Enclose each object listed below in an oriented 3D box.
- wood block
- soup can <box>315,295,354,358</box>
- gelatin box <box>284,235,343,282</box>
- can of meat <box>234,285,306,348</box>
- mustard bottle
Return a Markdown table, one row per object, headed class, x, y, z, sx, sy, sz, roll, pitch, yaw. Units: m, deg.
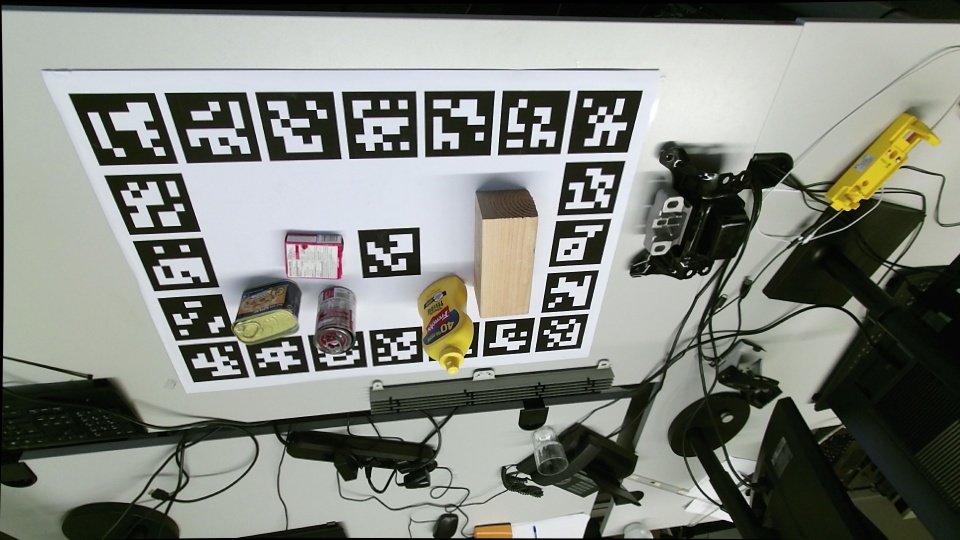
| class | x | y | z | sx | sy | sz | roll | pitch | yaw |
| --- | --- | --- | --- | --- | --- | --- | --- | --- | --- |
| wood block | 0.041 | -0.020 | 0.907 | 0.091 | 0.089 | 0.206 | -2 | 131 | -8 |
| soup can | -0.250 | 0.098 | 0.917 | 0.068 | 0.101 | 0.068 | -6 | 125 | -8 |
| gelatin box | -0.273 | -0.018 | 0.876 | 0.090 | 0.030 | 0.073 | 3 | 124 | -17 |
| can of meat | -0.349 | 0.076 | 0.903 | 0.102 | 0.083 | 0.058 | -14 | 127 | 2 |
| mustard bottle | -0.052 | 0.098 | 0.918 | 0.096 | 0.190 | 0.058 | -24 | 128 | 8 |
